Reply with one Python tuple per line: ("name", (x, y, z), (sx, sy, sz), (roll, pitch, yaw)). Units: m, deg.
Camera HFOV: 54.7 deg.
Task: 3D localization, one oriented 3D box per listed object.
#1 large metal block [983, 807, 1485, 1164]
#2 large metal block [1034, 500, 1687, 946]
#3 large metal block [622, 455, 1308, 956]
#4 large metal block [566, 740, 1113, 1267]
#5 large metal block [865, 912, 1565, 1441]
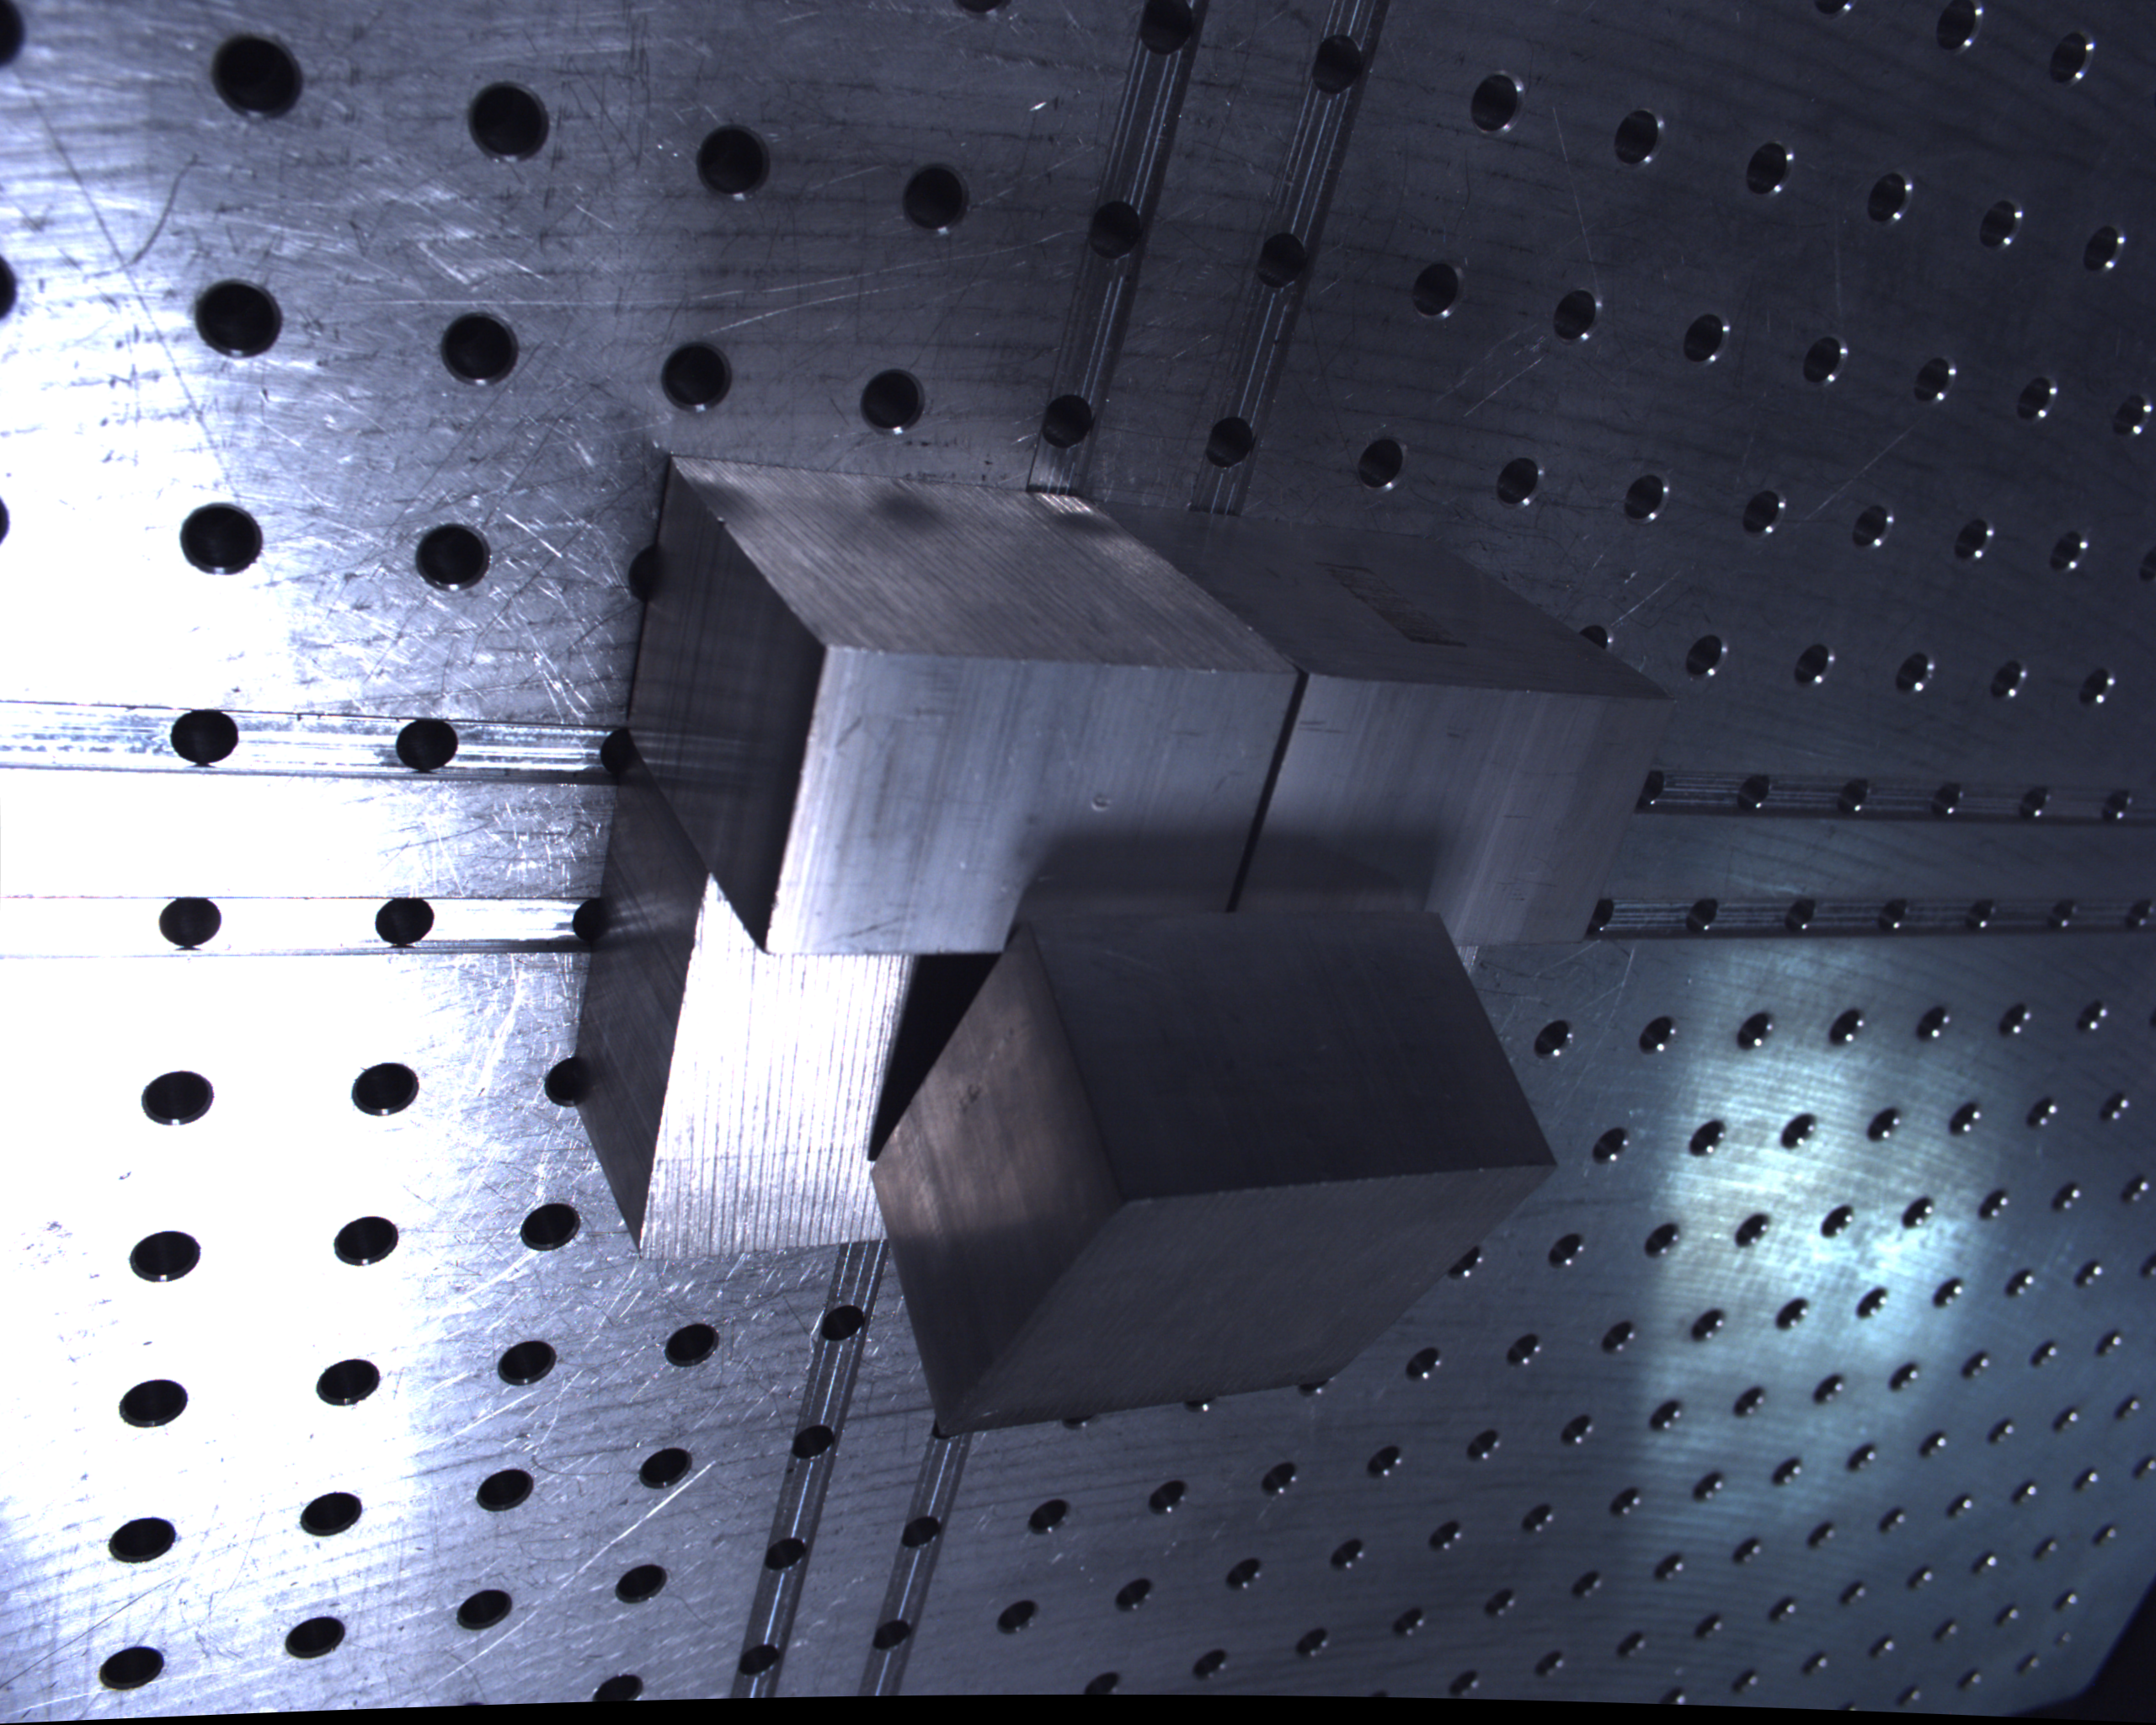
("large metal block", (0.028, 0.025, 0.425), (0.081, 0.050, 0.079), (1, 118, -29))
("large metal block", (0.048, -0.026, 0.386), (0.081, 0.080, 0.050), (1, 118, -29))
("large metal block", (-0.022, -0.027, 0.347), (0.081, 0.080, 0.050), (1, 118, -29))
("large metal block", (-0.043, 0.024, 0.385), (0.081, 0.050, 0.079), (1, 118, -29))
("large metal block", (0.020, 0.053, 0.353), (0.081, 0.050, 0.079), (0, 142, -29))
